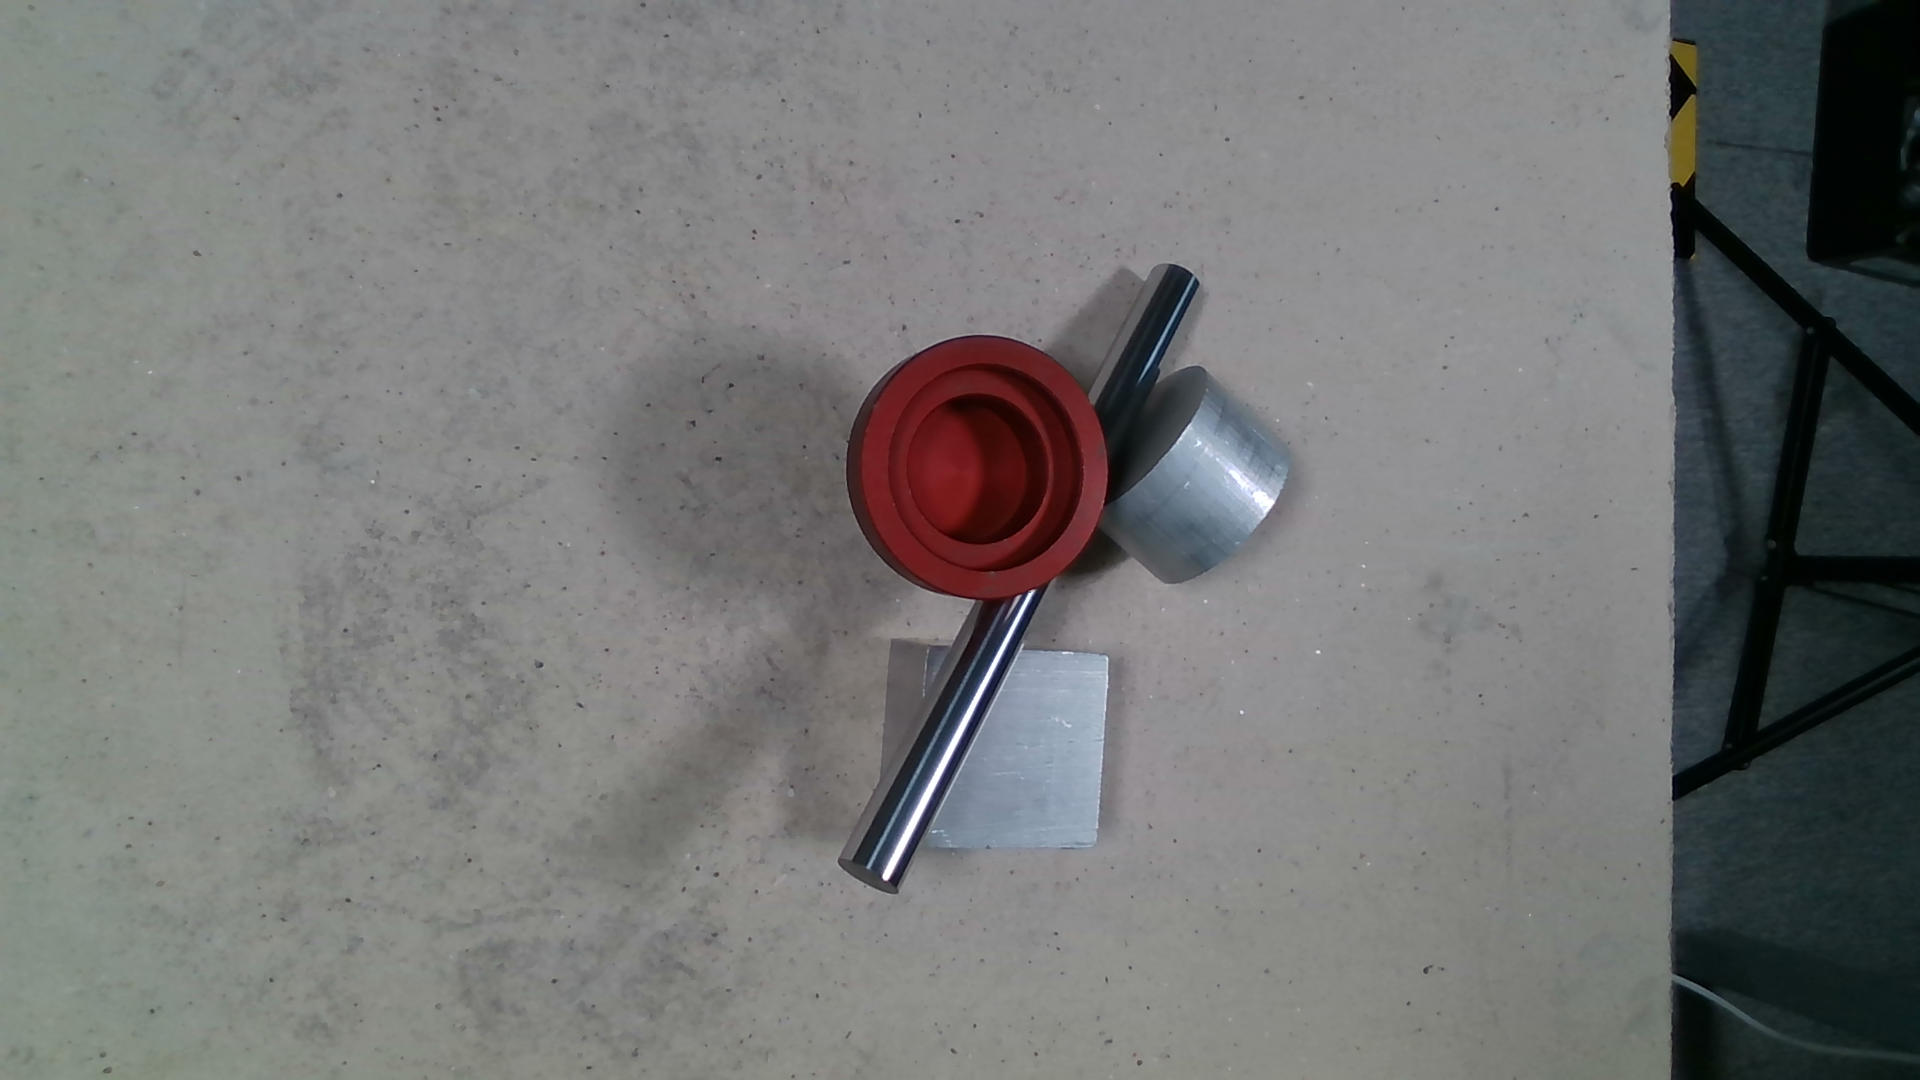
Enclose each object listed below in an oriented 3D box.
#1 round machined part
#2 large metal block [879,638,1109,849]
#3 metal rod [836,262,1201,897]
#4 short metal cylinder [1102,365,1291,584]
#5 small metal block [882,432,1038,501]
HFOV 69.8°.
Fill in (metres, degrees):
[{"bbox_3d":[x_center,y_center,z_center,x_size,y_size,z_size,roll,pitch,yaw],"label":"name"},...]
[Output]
[{"bbox_3d":[0.004,-0.027,0.526,0.098,0.042,0.098,0,90,-19],"label":"round machined part"},{"bbox_3d":[0.013,0.085,0.578,0.080,0.050,0.080,5,89,-20],"label":"large metal block"},{"bbox_3d":[0.032,0.003,0.558,0.025,0.025,0.299,37,64,-17],"label":"metal rod"},{"bbox_3d":[0.094,-0.028,0.592,0.050,0.080,0.080,39,77,-16],"label":"short metal cylinder"},{"bbox_3d":[-0.001,-0.030,0.573,0.050,0.050,0.025,-2,91,-20],"label":"small metal block"}]
